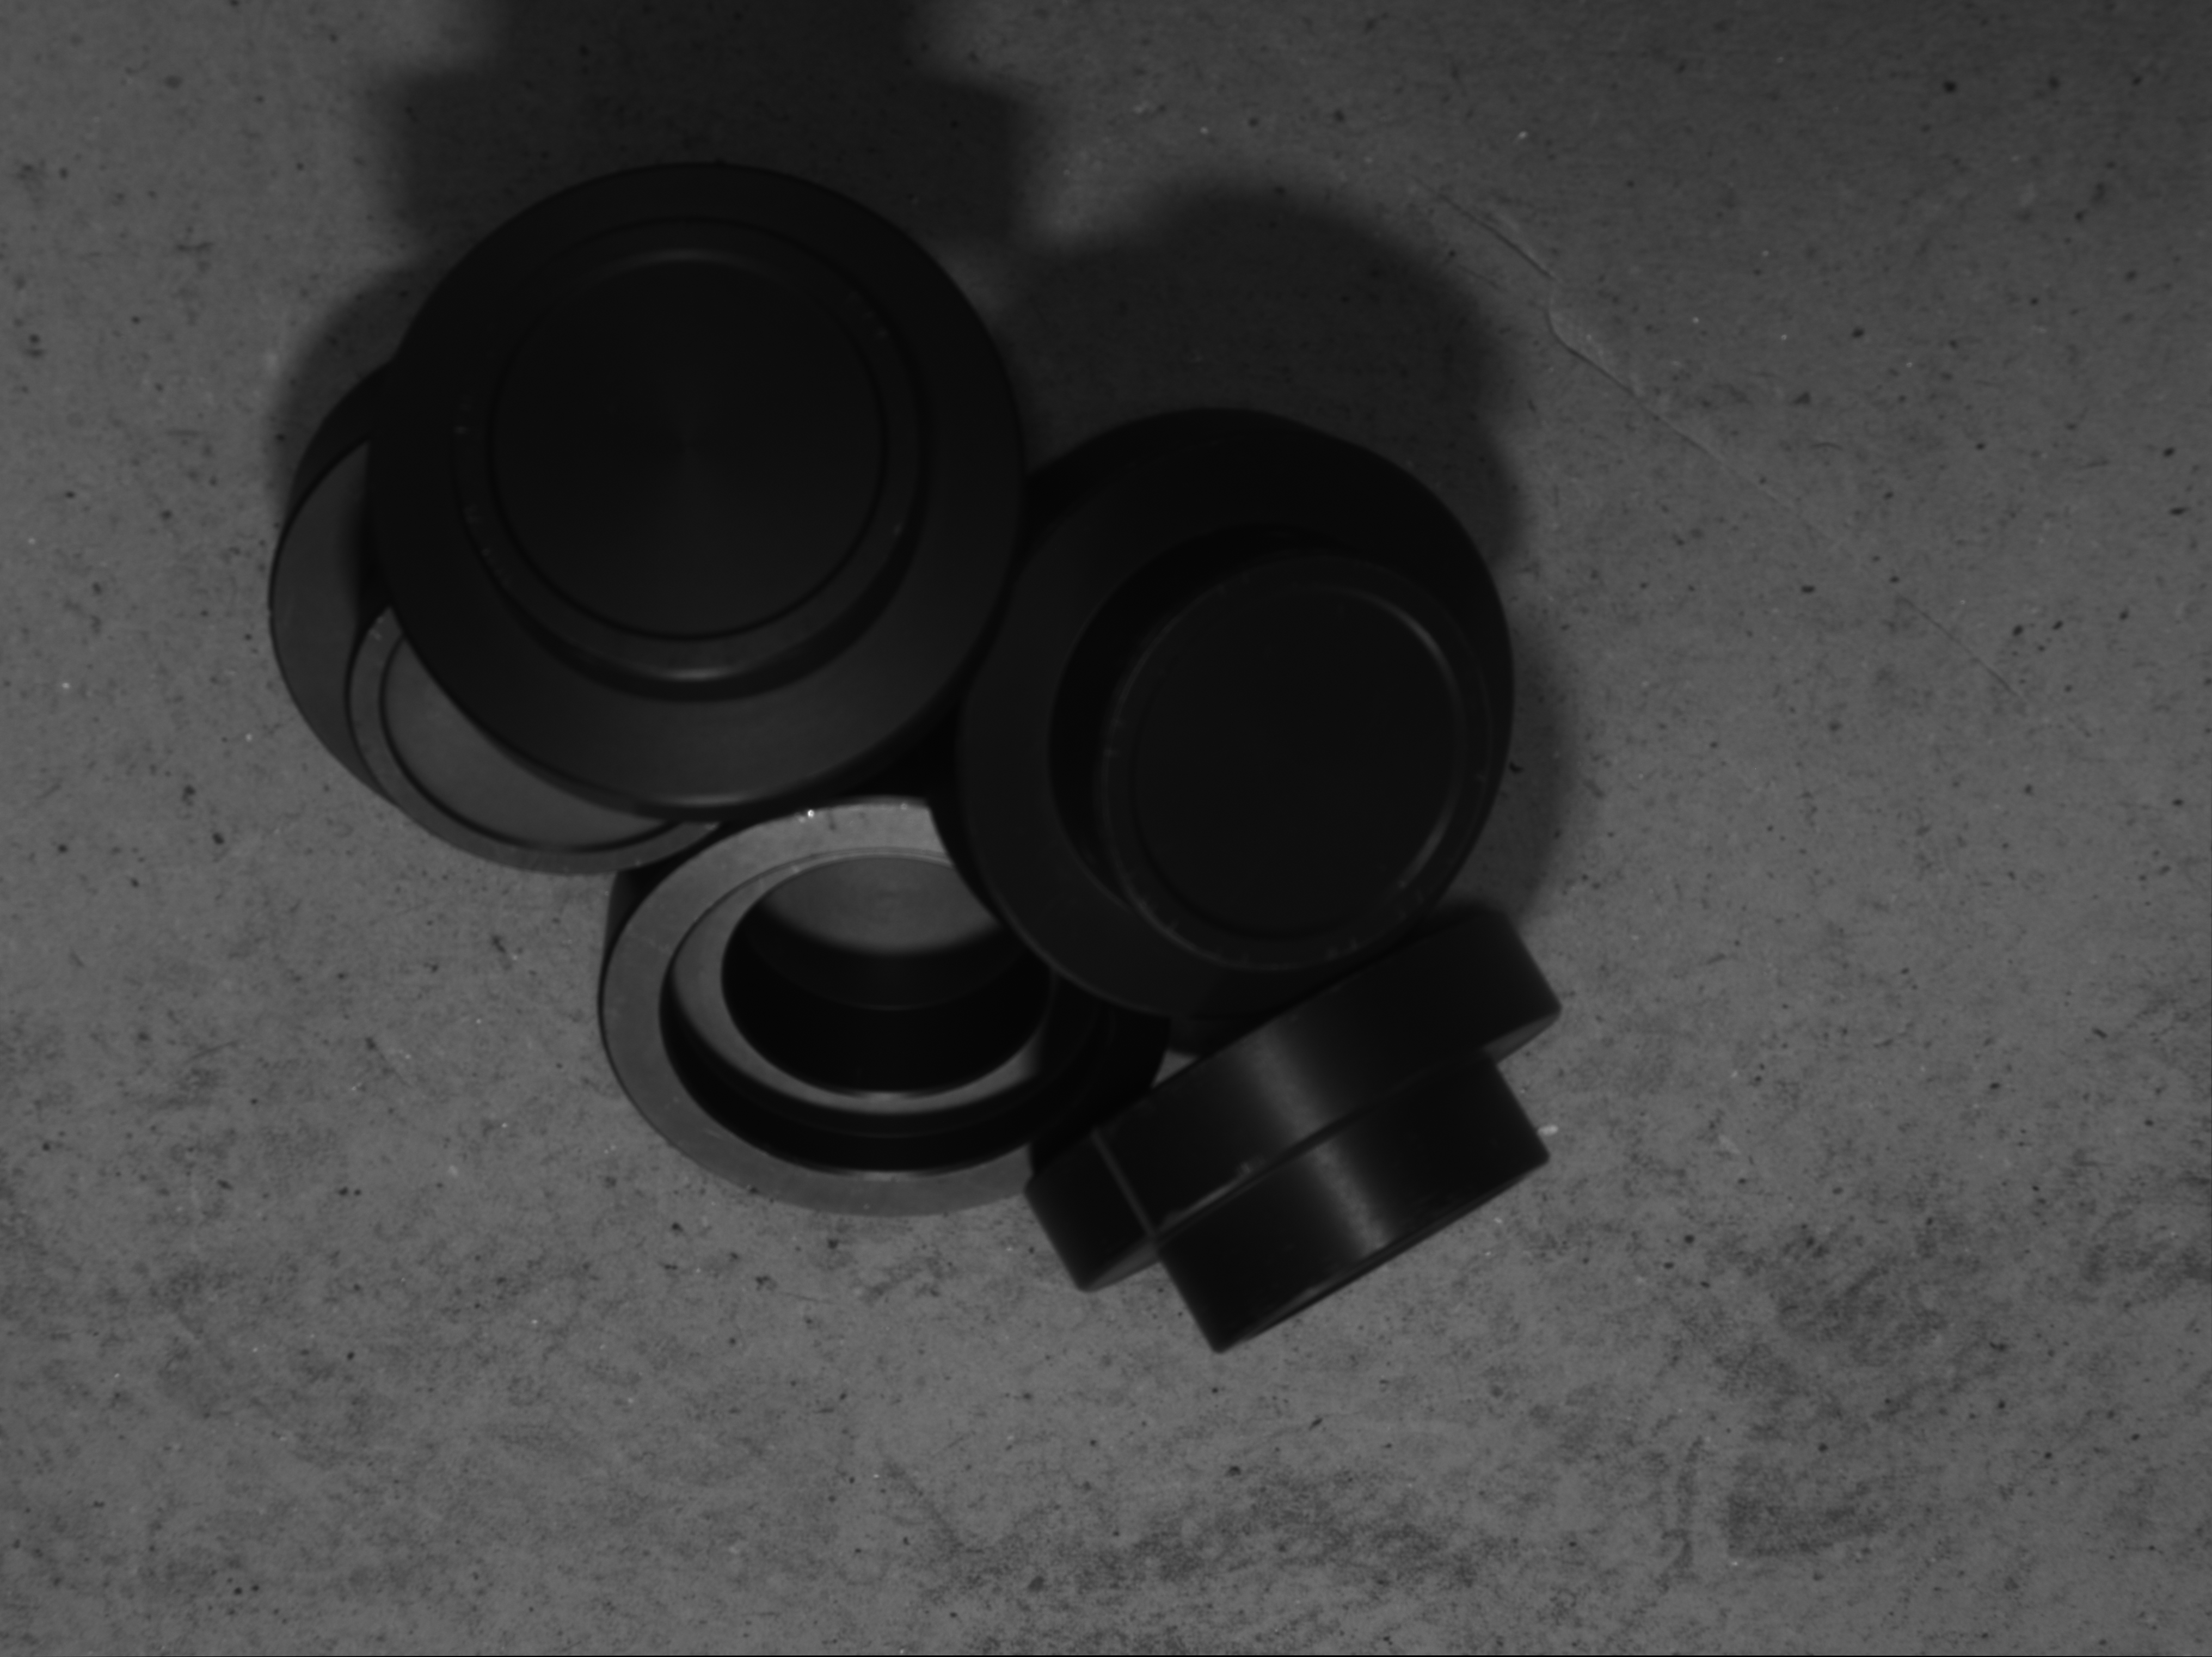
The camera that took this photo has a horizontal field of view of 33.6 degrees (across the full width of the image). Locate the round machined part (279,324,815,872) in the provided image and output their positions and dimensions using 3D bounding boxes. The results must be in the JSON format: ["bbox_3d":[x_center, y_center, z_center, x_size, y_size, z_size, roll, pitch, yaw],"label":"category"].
[{"bbox_3d":[-0.086,-0.032,0.600,0.098,0.042,0.098,-1,130,-1],"label":"round machined part"}]

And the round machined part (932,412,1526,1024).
[{"bbox_3d":[0.025,-0.015,0.587,0.098,0.042,0.098,-7,108,-22],"label":"round machined part"}]

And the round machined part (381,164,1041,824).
[{"bbox_3d":[-0.059,-0.052,0.544,0.098,0.098,0.042,1,172,-2],"label":"round machined part"}]

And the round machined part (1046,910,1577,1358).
[{"bbox_3d":[0.041,0.057,0.641,0.098,0.098,0.042,-35,81,25],"label":"round machined part"}]

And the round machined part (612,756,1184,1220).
[{"bbox_3d":[-0.036,0.020,0.643,0.098,0.042,0.098,-1,130,-1],"label":"round machined part"}]
